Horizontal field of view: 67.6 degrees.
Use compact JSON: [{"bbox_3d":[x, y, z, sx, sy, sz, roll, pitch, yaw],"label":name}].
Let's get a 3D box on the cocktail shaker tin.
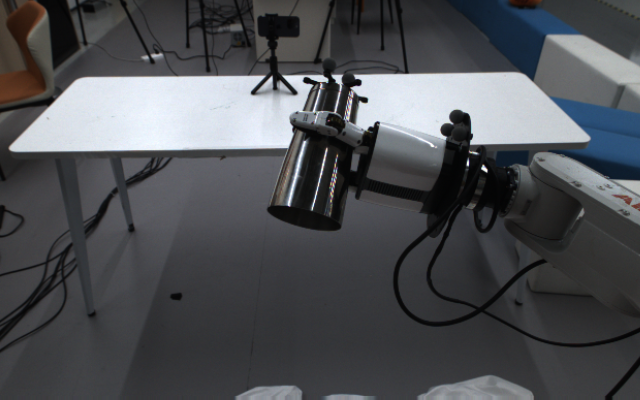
[{"bbox_3d":[0.000,-0.055,0.602,0.093,0.093,0.170,11,73,12],"label":"cocktail shaker tin"}]
